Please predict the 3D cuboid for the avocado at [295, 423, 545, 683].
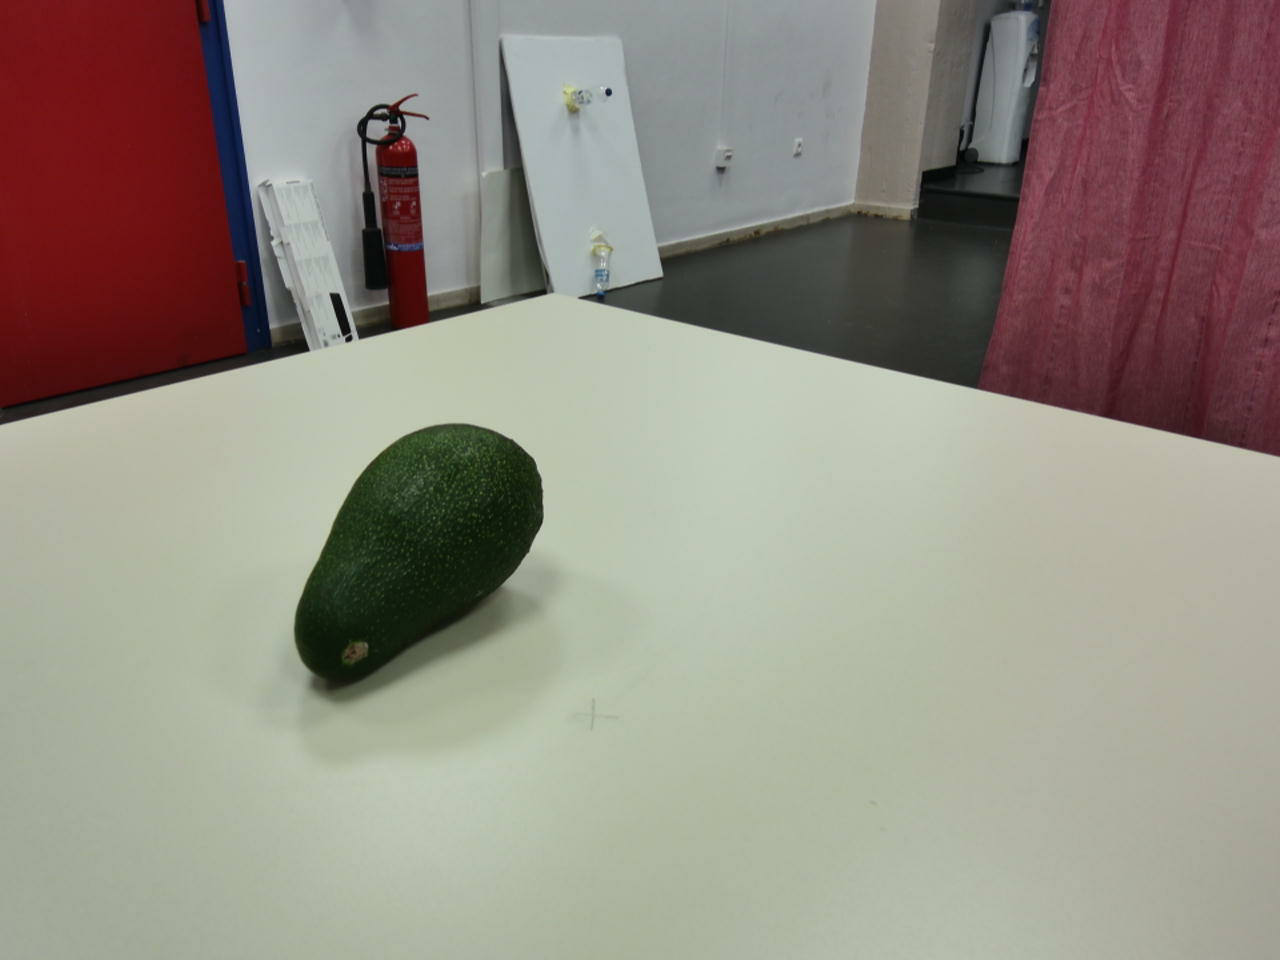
[{"bbox_3d":[-0.091,0.020,0.397,0.074,0.076,0.123,22,30,40],"label":"avocado"}]
